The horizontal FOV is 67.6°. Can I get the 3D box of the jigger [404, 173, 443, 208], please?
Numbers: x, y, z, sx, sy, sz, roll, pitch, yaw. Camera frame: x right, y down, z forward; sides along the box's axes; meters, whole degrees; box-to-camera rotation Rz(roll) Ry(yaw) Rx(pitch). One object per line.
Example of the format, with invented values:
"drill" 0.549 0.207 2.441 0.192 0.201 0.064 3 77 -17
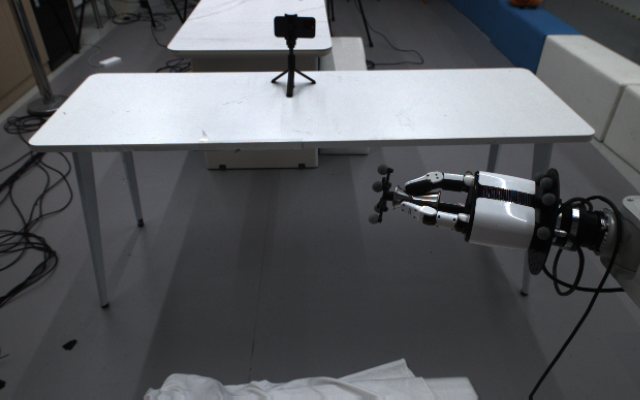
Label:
"jigger" 0.157 -0.001 0.758 0.071 0.043 0.043 11 36 16
